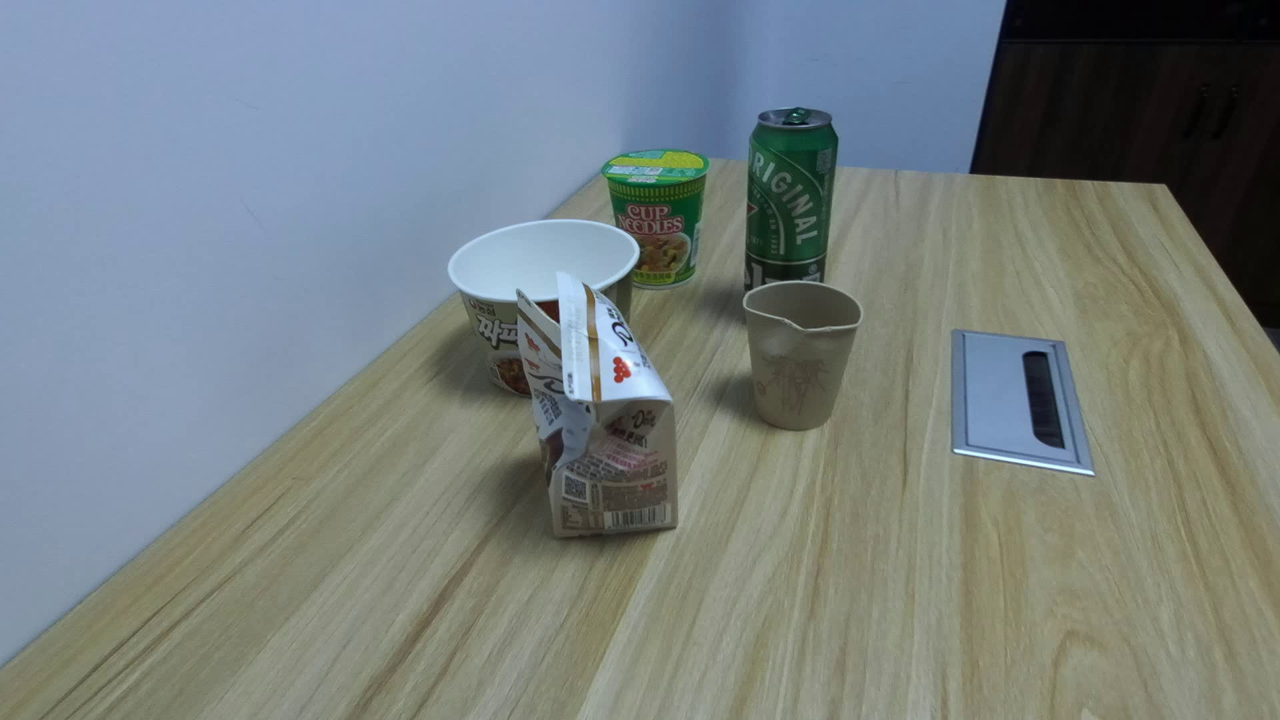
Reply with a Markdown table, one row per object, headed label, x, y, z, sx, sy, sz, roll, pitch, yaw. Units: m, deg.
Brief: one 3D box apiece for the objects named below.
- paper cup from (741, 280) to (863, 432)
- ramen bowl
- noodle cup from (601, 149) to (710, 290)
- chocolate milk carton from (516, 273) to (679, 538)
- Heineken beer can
| label | x | y | z | sx | sy | sz | roll | pitch | yaw |
| --- | --- | --- | --- | --- | --- | --- | --- | --- | --- |
| paper cup | 0.105 | -0.002 | 0.474 | 0.073 | 0.081 | 0.068 | -9 | 33 | -10 |
| ramen bowl | -0.067 | -0.039 | 0.542 | 0.140 | 0.095 | 0.140 | -2 | 33 | 2 |
| noodle cup | 0.018 | -0.128 | 0.655 | 0.097 | 0.110 | 0.097 | -3 | 33 | 2 |
| chocolate milk carton | -0.023 | 0.029 | 0.393 | 0.077 | 0.156 | 0.089 | -10 | 46 | -3 |
| Heineken beer can | 0.119 | -0.108 | 0.564 | 0.067 | 0.169 | 0.067 | -2 | 32 | 2 |
